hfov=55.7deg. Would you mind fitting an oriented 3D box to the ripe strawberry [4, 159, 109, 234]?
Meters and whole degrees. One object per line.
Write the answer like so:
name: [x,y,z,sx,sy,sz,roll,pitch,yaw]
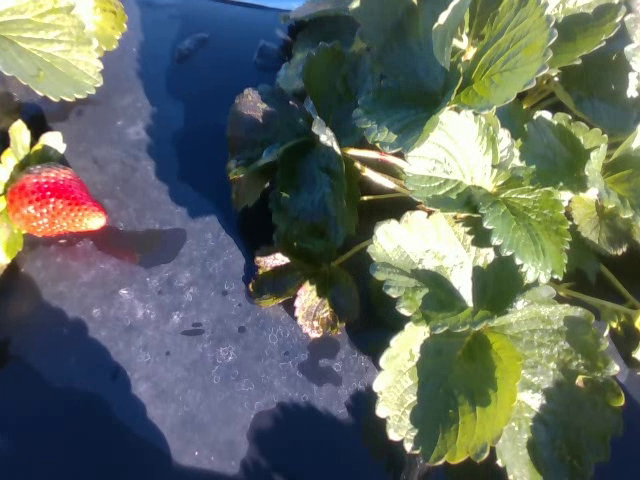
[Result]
ripe strawberry: [-0.138,-0.018,0.331,0.064,0.050,0.052,17,14,15]
